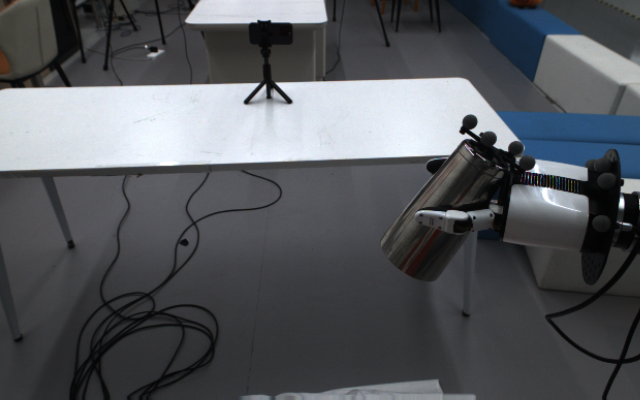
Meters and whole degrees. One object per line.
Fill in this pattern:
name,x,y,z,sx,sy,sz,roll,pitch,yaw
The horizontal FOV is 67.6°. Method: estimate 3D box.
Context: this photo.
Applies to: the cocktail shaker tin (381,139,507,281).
cocktail shaker tin,0.161,0.007,0.615,0.093,0.170,0.093,25,29,-15
